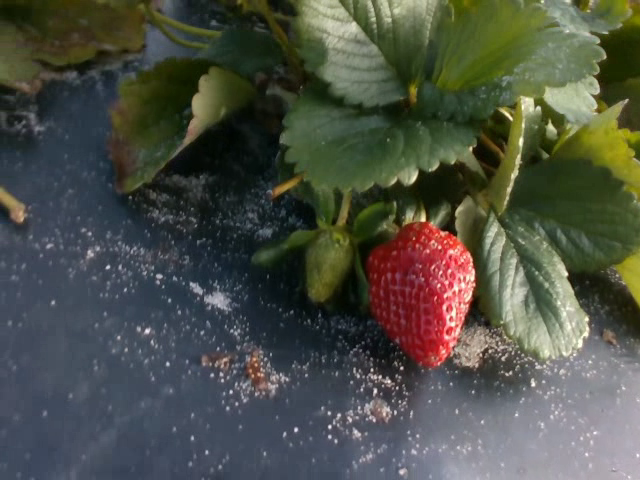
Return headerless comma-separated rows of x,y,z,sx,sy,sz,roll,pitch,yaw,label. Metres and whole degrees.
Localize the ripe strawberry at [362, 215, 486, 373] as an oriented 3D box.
0.022,0.012,0.133,0.030,0.036,0.021,1,-39,-7,ripe strawberry
